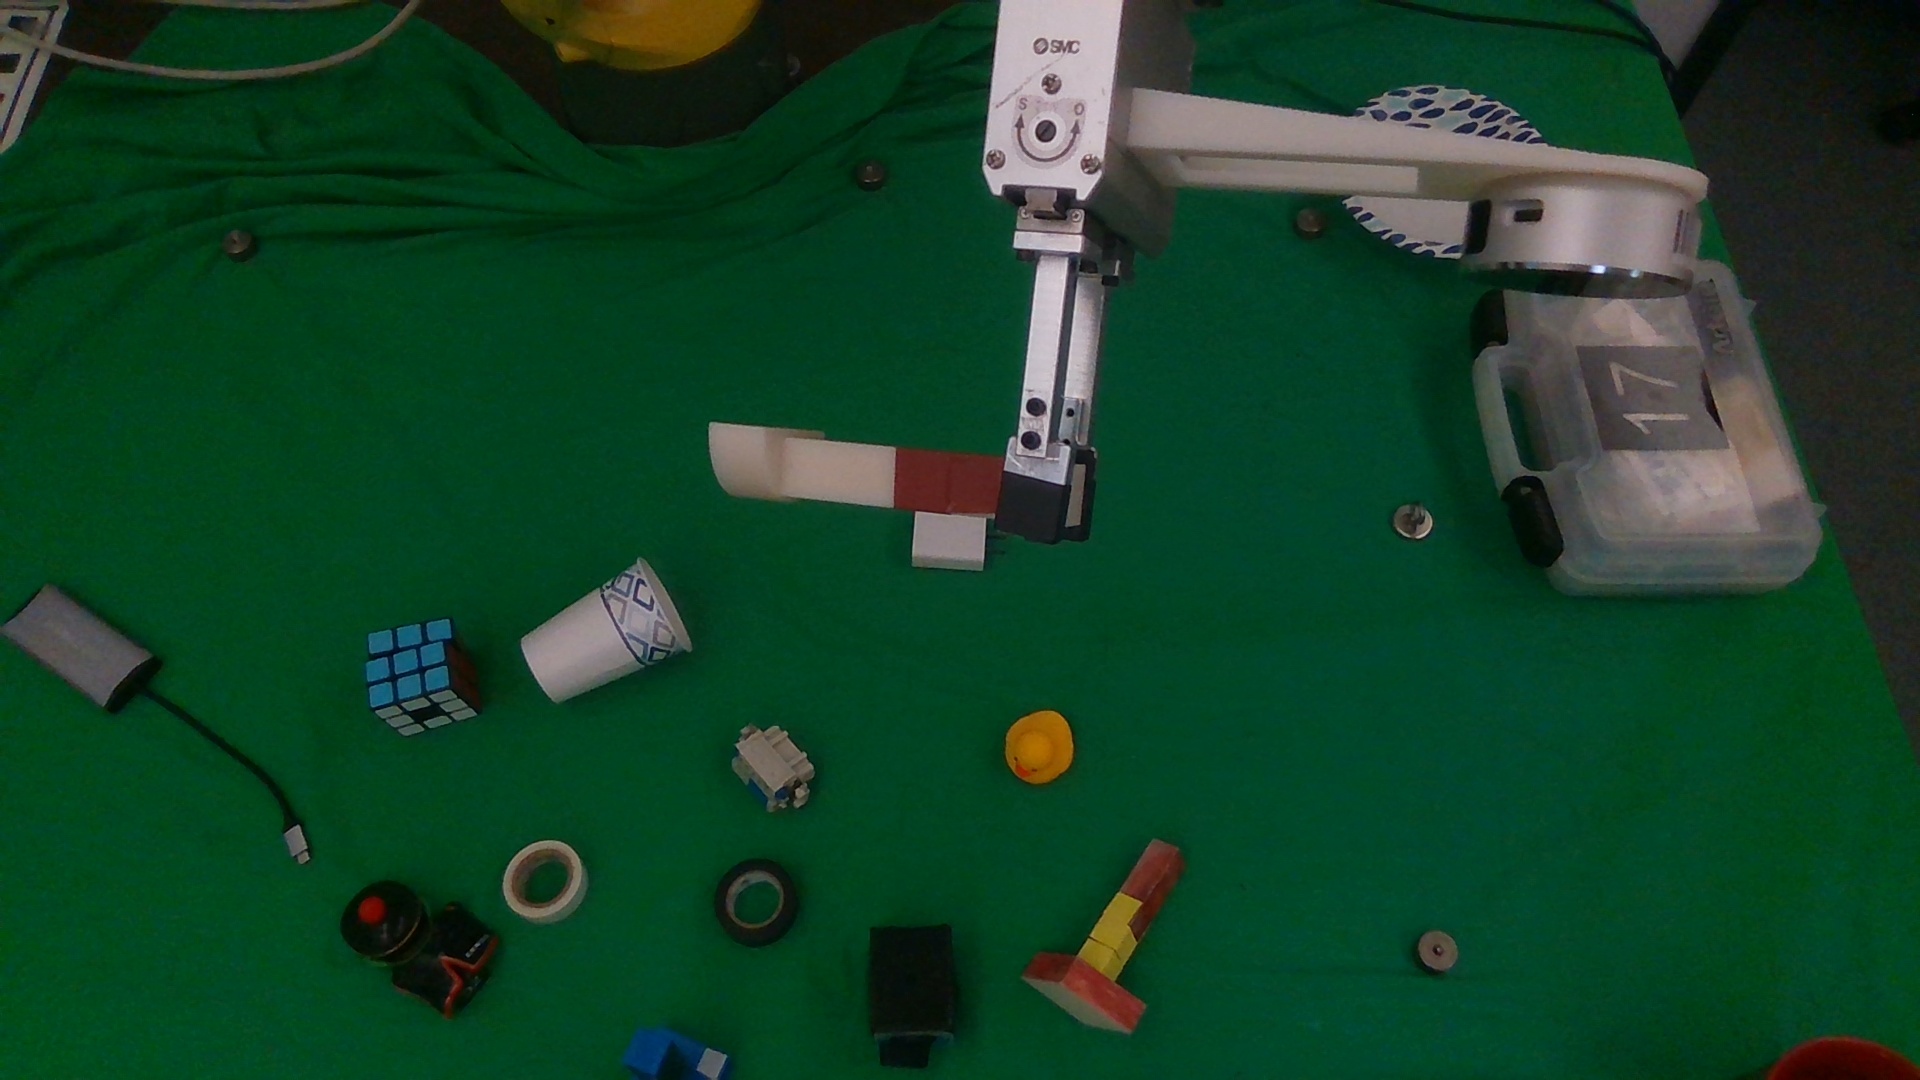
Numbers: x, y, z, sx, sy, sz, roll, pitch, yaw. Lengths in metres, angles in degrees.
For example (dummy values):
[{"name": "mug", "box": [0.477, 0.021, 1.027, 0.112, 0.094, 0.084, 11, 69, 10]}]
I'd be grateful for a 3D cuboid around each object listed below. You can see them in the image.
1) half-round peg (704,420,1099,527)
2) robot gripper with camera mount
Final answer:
[{"name": "half-round peg", "box": [-0.017, -0.021, 0.445, 0.122, 0.054, 0.031, 4, 98, 17]}, {"name": "robot gripper with camera mount", "box": [0.109, -0.069, 0.403, 0.194, 0.118, 0.158, 7, 95, 18]}]
